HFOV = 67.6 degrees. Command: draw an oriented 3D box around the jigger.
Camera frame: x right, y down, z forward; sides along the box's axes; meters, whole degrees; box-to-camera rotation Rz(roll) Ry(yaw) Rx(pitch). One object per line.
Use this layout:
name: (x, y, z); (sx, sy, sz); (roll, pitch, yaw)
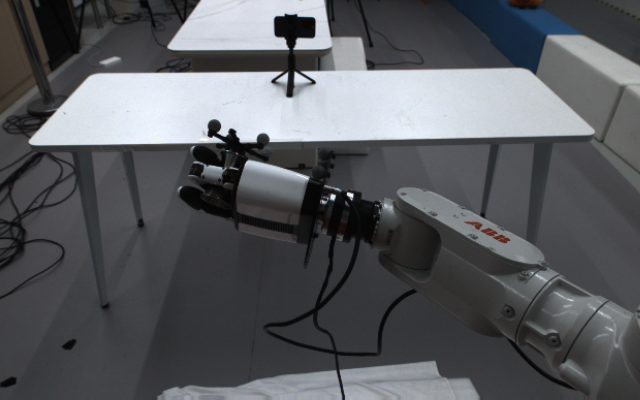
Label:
jigger: (-0.122, -0.027, 0.642); (0.043, 0.043, 0.071); (12, 71, 14)
